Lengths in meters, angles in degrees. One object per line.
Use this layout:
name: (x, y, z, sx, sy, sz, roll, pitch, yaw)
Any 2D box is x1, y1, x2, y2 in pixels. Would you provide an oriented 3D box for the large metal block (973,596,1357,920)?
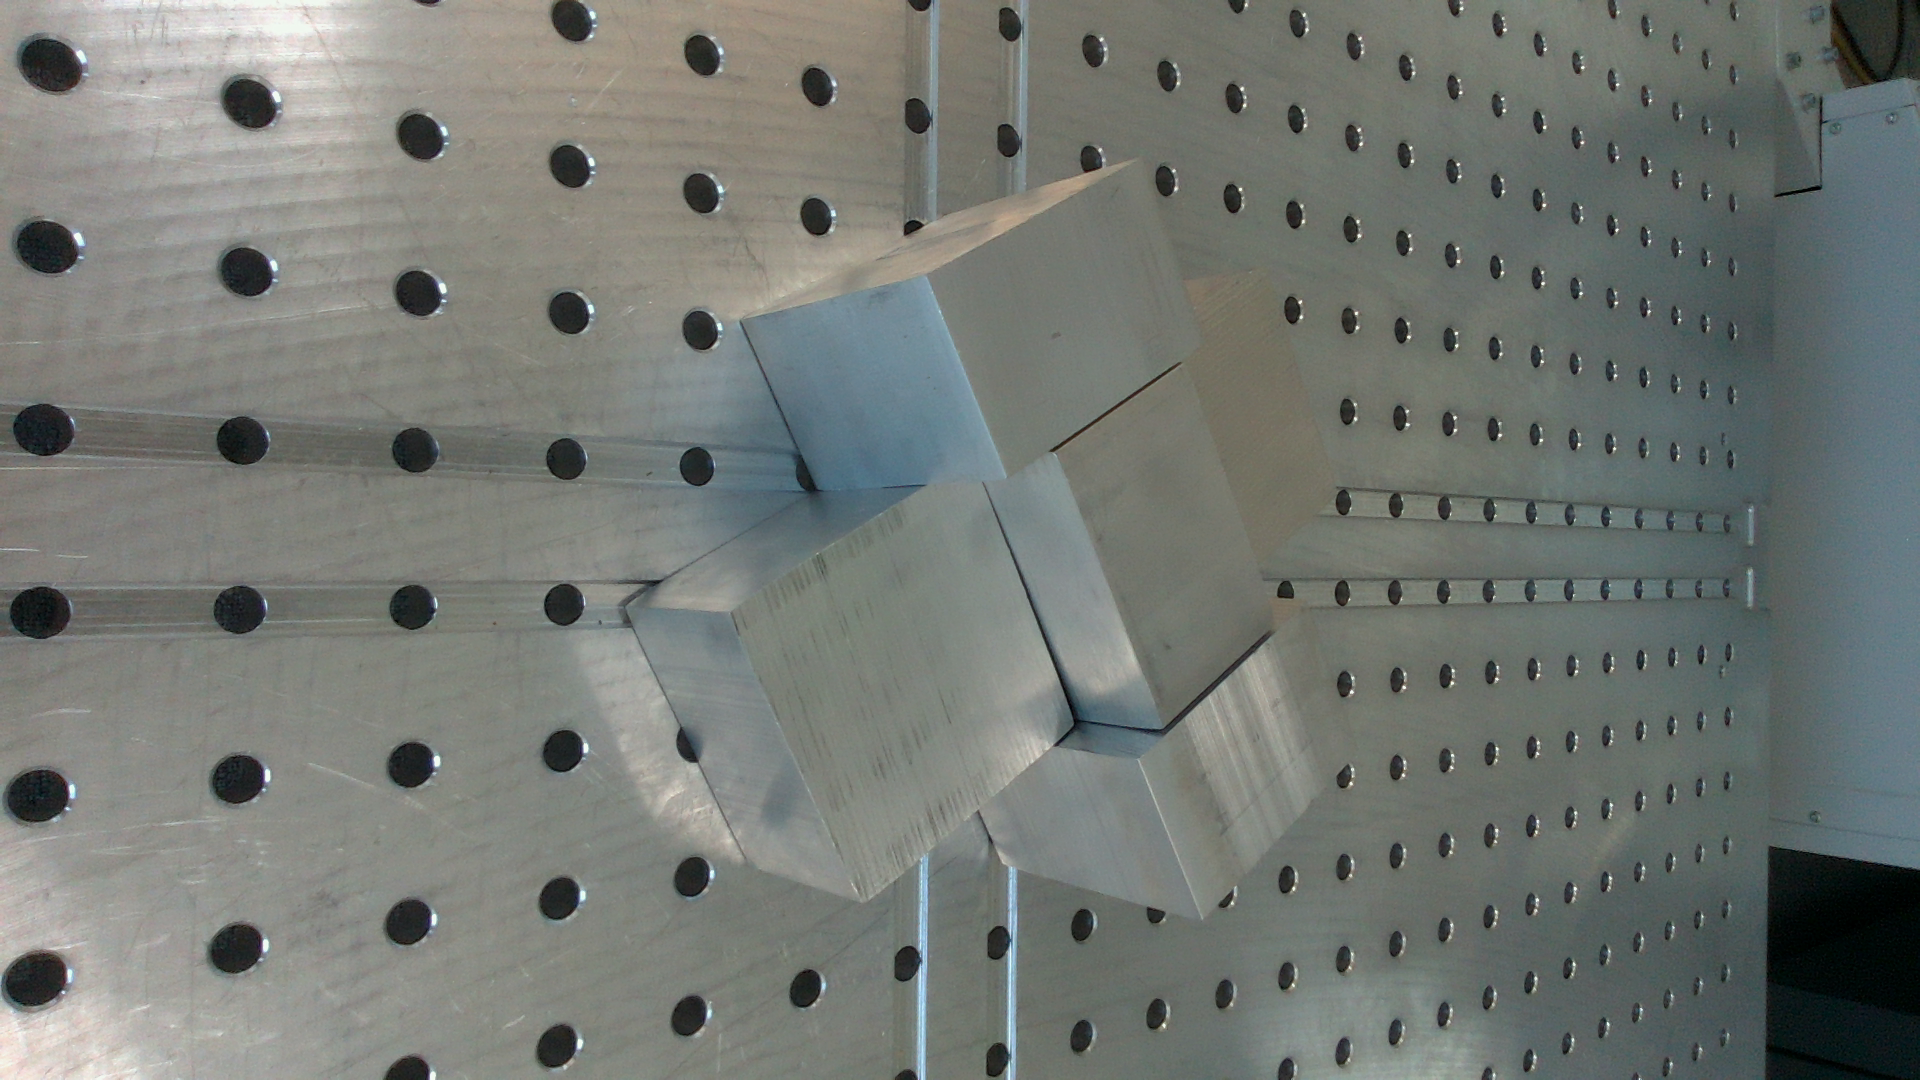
large metal block: (0.054, 0.057, 0.401, 0.080, 0.080, 0.050, -36, 112, -35)

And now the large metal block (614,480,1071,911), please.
large metal block: (-0.028, 0.033, 0.353, 0.080, 0.050, 0.080, -33, 110, -35)

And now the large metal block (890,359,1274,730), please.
large metal block: (0.029, 0.001, 0.380, 0.050, 0.080, 0.080, -35, 112, -34)

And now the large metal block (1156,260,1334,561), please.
large metal block: (0.064, -0.032, 0.428, 0.080, 0.050, 0.080, -35, 114, -34)

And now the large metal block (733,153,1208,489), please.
large metal block: (0.003, -0.055, 0.357, 0.080, 0.080, 0.050, -35, 111, -34)
